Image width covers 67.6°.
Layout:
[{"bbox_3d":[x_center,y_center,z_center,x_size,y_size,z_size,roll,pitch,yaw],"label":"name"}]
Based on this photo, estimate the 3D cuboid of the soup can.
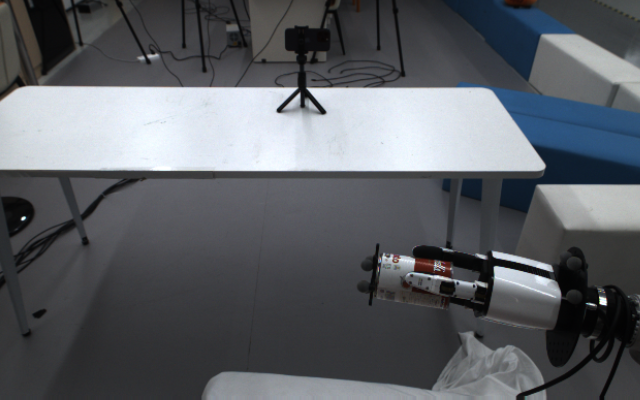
[{"bbox_3d":[0.135,0.112,0.684,0.101,0.067,0.067,6,35,10],"label":"soup can"}]
